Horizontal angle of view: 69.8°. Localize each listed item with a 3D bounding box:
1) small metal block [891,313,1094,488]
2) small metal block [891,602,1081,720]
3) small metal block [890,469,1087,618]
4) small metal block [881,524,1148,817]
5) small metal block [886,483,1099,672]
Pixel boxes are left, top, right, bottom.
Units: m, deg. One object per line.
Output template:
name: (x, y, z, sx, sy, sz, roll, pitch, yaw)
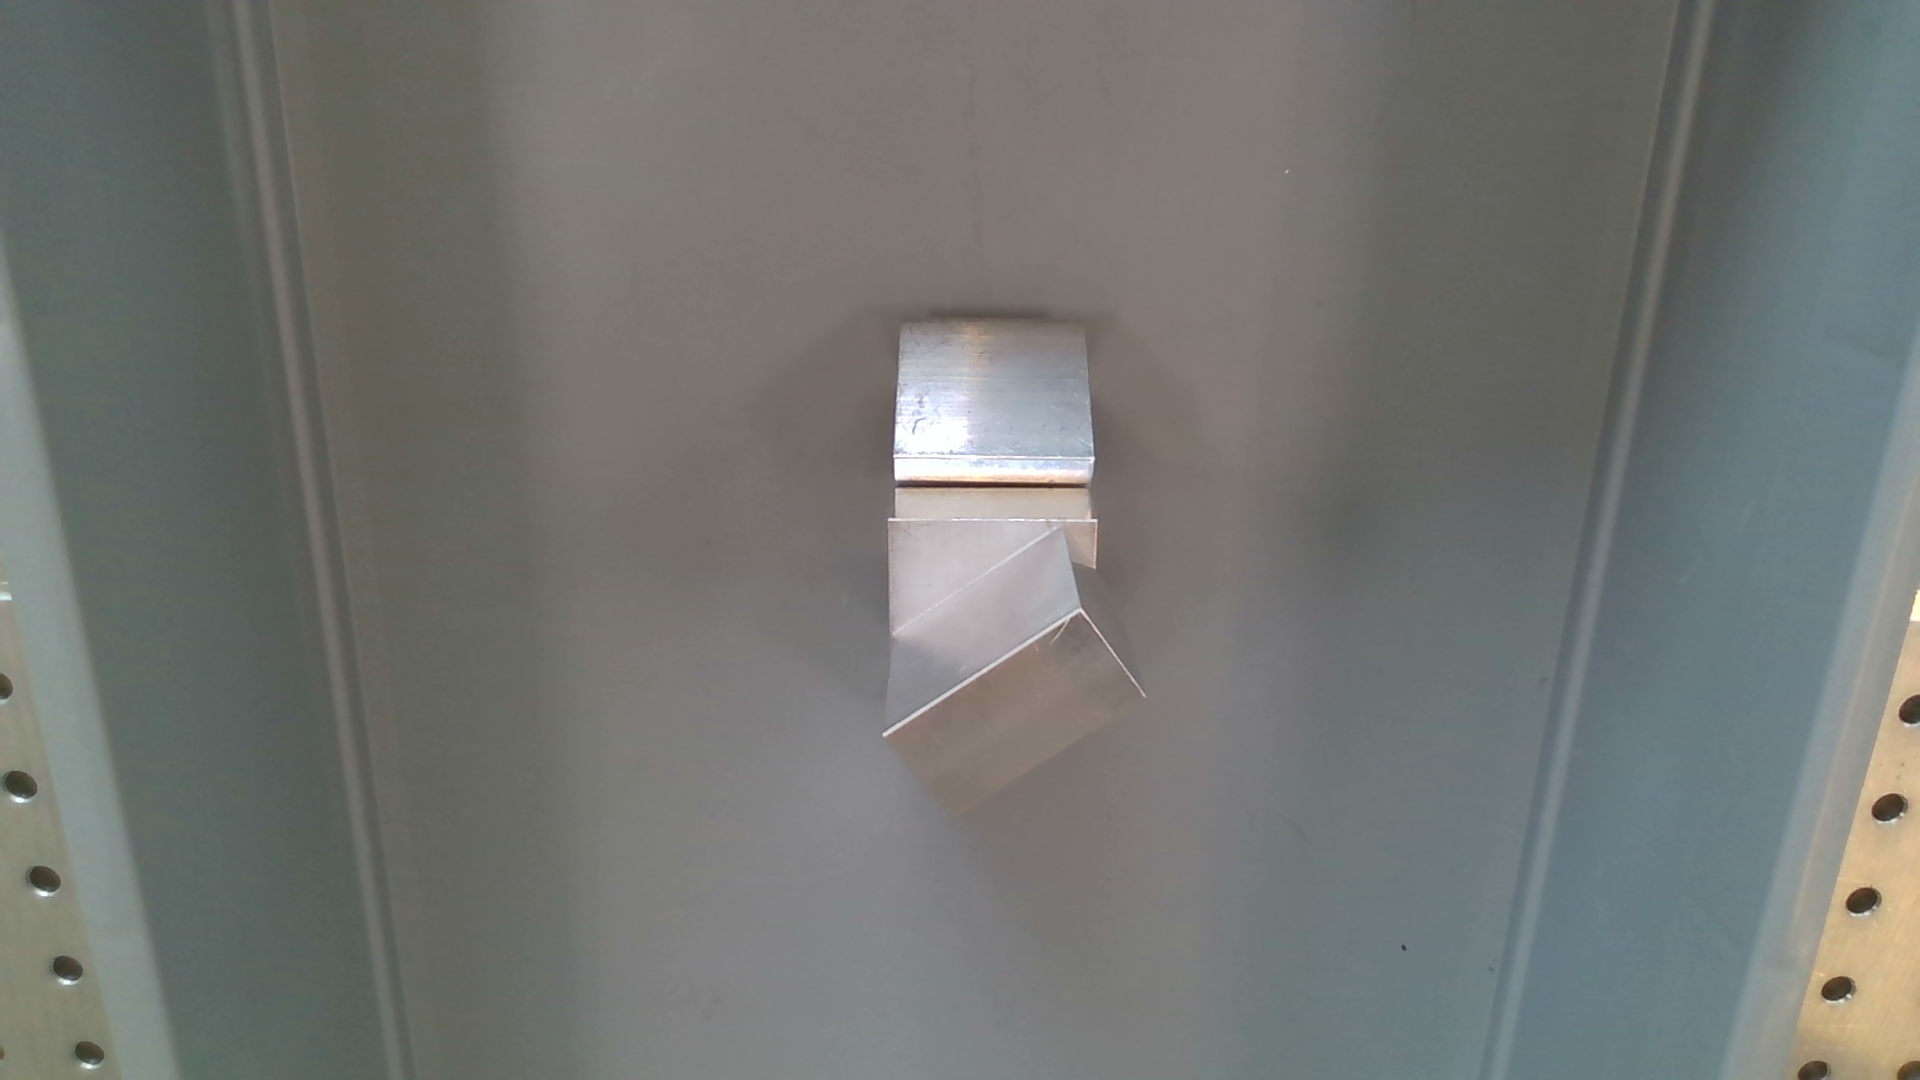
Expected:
small metal block: (0.008, -0.033, 0.364, 0.050, 0.050, 0.025, 1, 143, 0)
small metal block: (0.007, 0.035, 0.389, 0.050, 0.050, 0.025, 1, 76, 0)
small metal block: (0.007, 0.000, 0.378, 0.050, 0.050, 0.025, 1, 110, -1)
small metal block: (0.011, 0.028, 0.309, 0.050, 0.050, 0.025, -33, 106, 11)
small metal block: (0.007, 0.014, 0.343, 0.050, 0.025, 0.050, 1, 110, -1)
